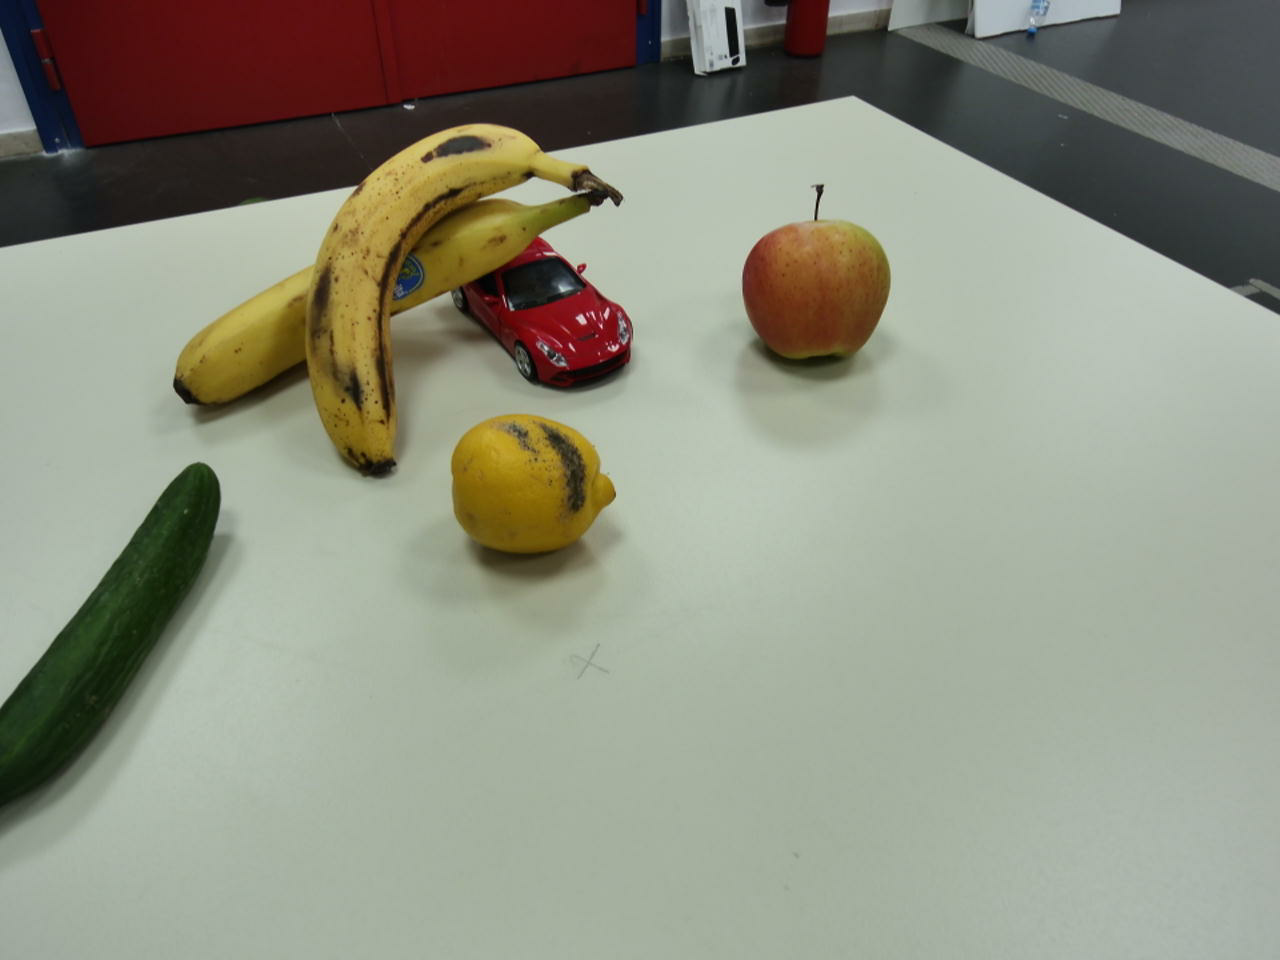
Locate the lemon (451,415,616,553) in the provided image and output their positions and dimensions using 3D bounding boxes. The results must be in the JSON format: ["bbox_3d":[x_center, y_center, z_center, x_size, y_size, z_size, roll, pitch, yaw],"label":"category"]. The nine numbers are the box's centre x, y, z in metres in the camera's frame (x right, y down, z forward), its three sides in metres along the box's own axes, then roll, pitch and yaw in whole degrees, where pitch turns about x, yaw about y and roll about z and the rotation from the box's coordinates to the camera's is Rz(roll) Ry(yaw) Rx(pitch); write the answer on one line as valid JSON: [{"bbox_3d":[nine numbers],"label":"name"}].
[{"bbox_3d":[-0.046,0.001,0.405,0.061,0.056,0.058,-23,44,-27],"label":"lemon"}]
